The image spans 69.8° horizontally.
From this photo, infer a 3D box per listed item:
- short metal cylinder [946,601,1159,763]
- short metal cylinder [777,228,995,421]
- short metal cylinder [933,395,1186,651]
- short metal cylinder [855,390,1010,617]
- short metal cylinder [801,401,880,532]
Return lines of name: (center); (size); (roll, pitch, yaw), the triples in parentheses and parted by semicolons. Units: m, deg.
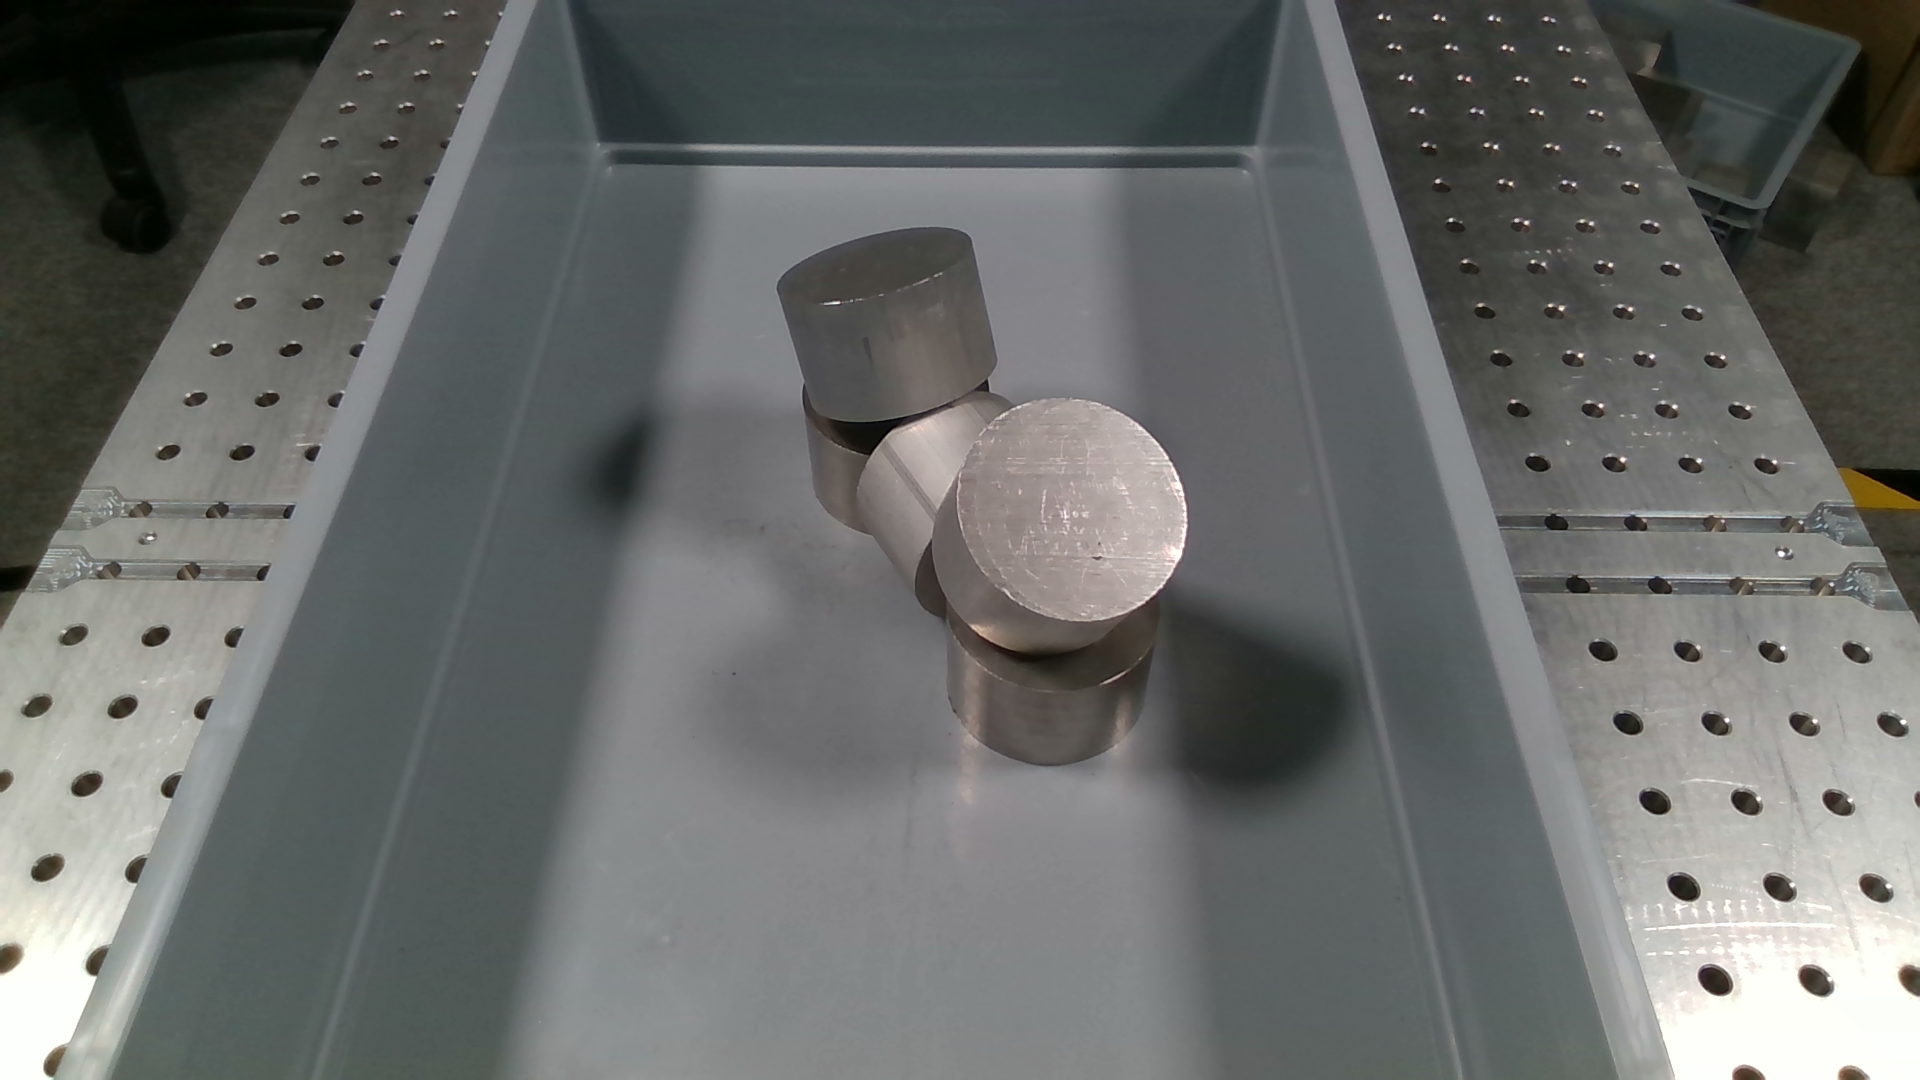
short metal cylinder: (0.035, 0.039, 0.536); (0.080, 0.050, 0.080); (0, 50, 0)
short metal cylinder: (-0.029, -0.089, 0.559); (0.080, 0.050, 0.080); (-11, 29, 6)
short metal cylinder: (0.033, -0.004, 0.488); (0.080, 0.050, 0.080); (4, 72, -11)
short metal cylinder: (0.004, -0.014, 0.561); (0.080, 0.080, 0.050); (-24, 54, -18)
short metal cylinder: (-0.028, -0.048, 0.609); (0.080, 0.050, 0.080); (0, 50, 0)
